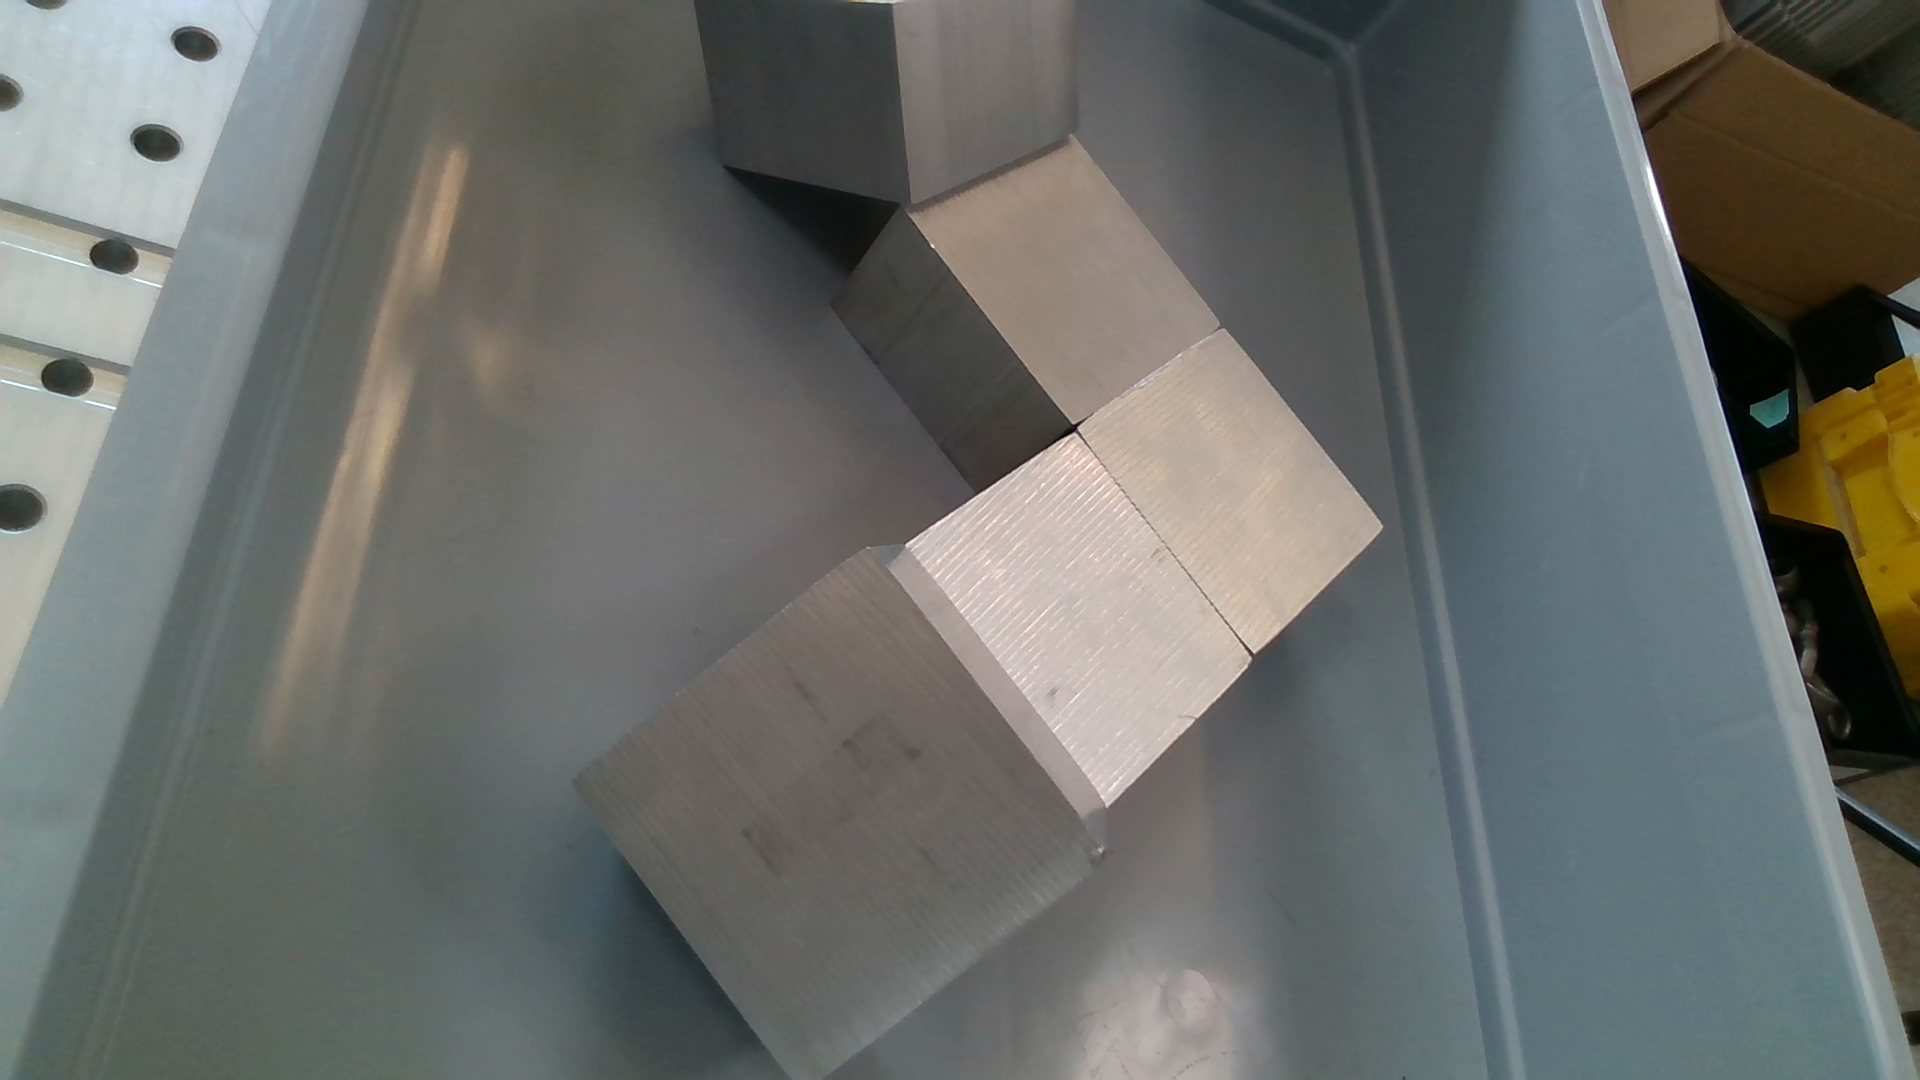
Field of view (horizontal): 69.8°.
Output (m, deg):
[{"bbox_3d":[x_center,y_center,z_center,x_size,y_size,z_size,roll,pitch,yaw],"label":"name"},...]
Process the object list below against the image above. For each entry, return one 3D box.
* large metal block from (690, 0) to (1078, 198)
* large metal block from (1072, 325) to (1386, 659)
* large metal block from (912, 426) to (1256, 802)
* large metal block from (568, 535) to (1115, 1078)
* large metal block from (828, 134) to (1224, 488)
[{"bbox_3d":[-0.021,-0.145,0.412,0.080,0.050,0.080,21,40,34],"label":"large metal block"},{"bbox_3d":[0.070,-0.007,0.423,0.080,0.050,0.080,-36,86,-39],"label":"large metal block"},{"bbox_3d":[0.019,0.029,0.372,0.080,0.050,0.080,-36,86,-39],"label":"large metal block"},{"bbox_3d":[-0.023,0.055,0.304,0.080,0.050,0.080,-38,87,4],"label":"large metal block"},{"bbox_3d":[0.021,-0.071,0.426,0.080,0.050,0.080,-36,86,-39],"label":"large metal block"}]
